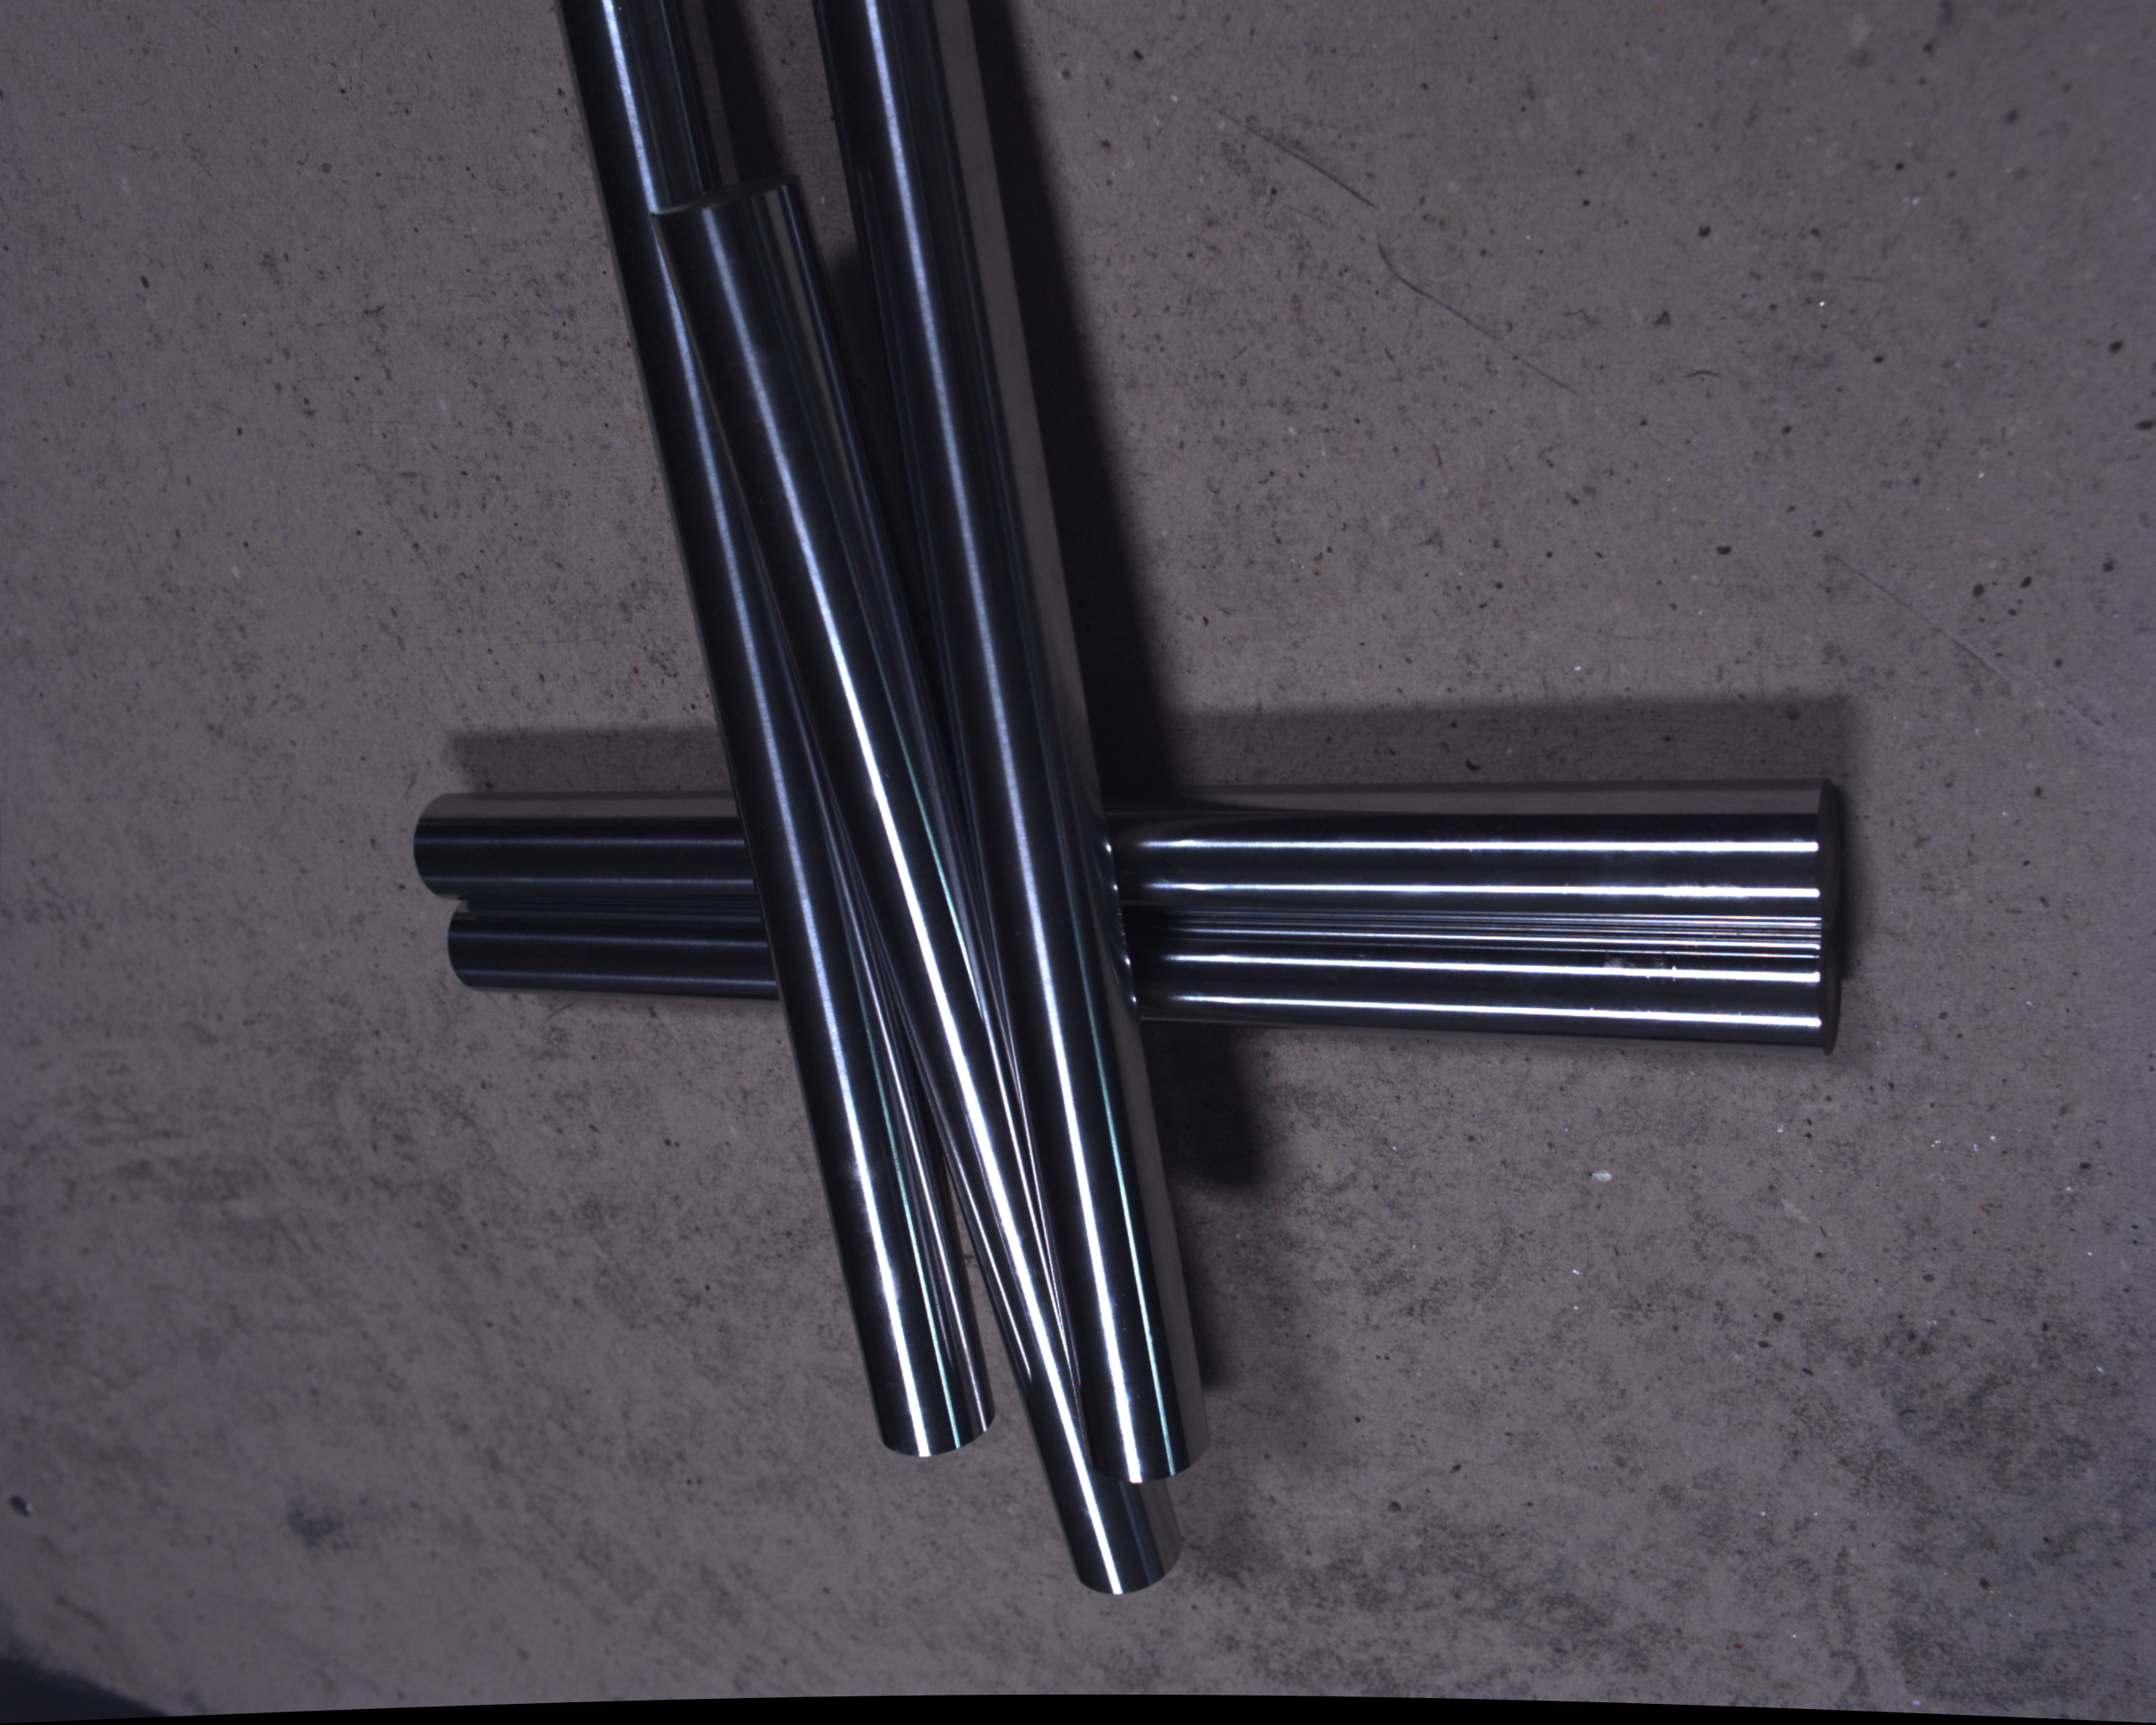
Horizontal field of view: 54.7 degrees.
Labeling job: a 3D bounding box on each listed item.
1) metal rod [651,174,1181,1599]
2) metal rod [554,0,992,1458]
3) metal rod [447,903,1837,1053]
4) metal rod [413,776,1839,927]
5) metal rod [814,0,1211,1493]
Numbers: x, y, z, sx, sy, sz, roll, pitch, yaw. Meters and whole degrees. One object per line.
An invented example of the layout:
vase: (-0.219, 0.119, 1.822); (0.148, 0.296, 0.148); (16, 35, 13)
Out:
metal rod: (-0.023, 0.023, 0.400); (0.025, 0.025, 0.298); (0, 118, 28)
metal rod: (-0.054, -0.021, 0.395); (0.025, 0.025, 0.298); (0, 111, 28)
metal rod: (-0.006, 0.019, 0.423); (0.300, 0.025, 0.025); (0, 119, 27)
metal rod: (-0.010, -0.003, 0.411); (0.300, 0.025, 0.025); (0, 119, 27)
metal rod: (-0.010, -0.021, 0.371); (0.025, 0.025, 0.298); (0, 111, 28)
